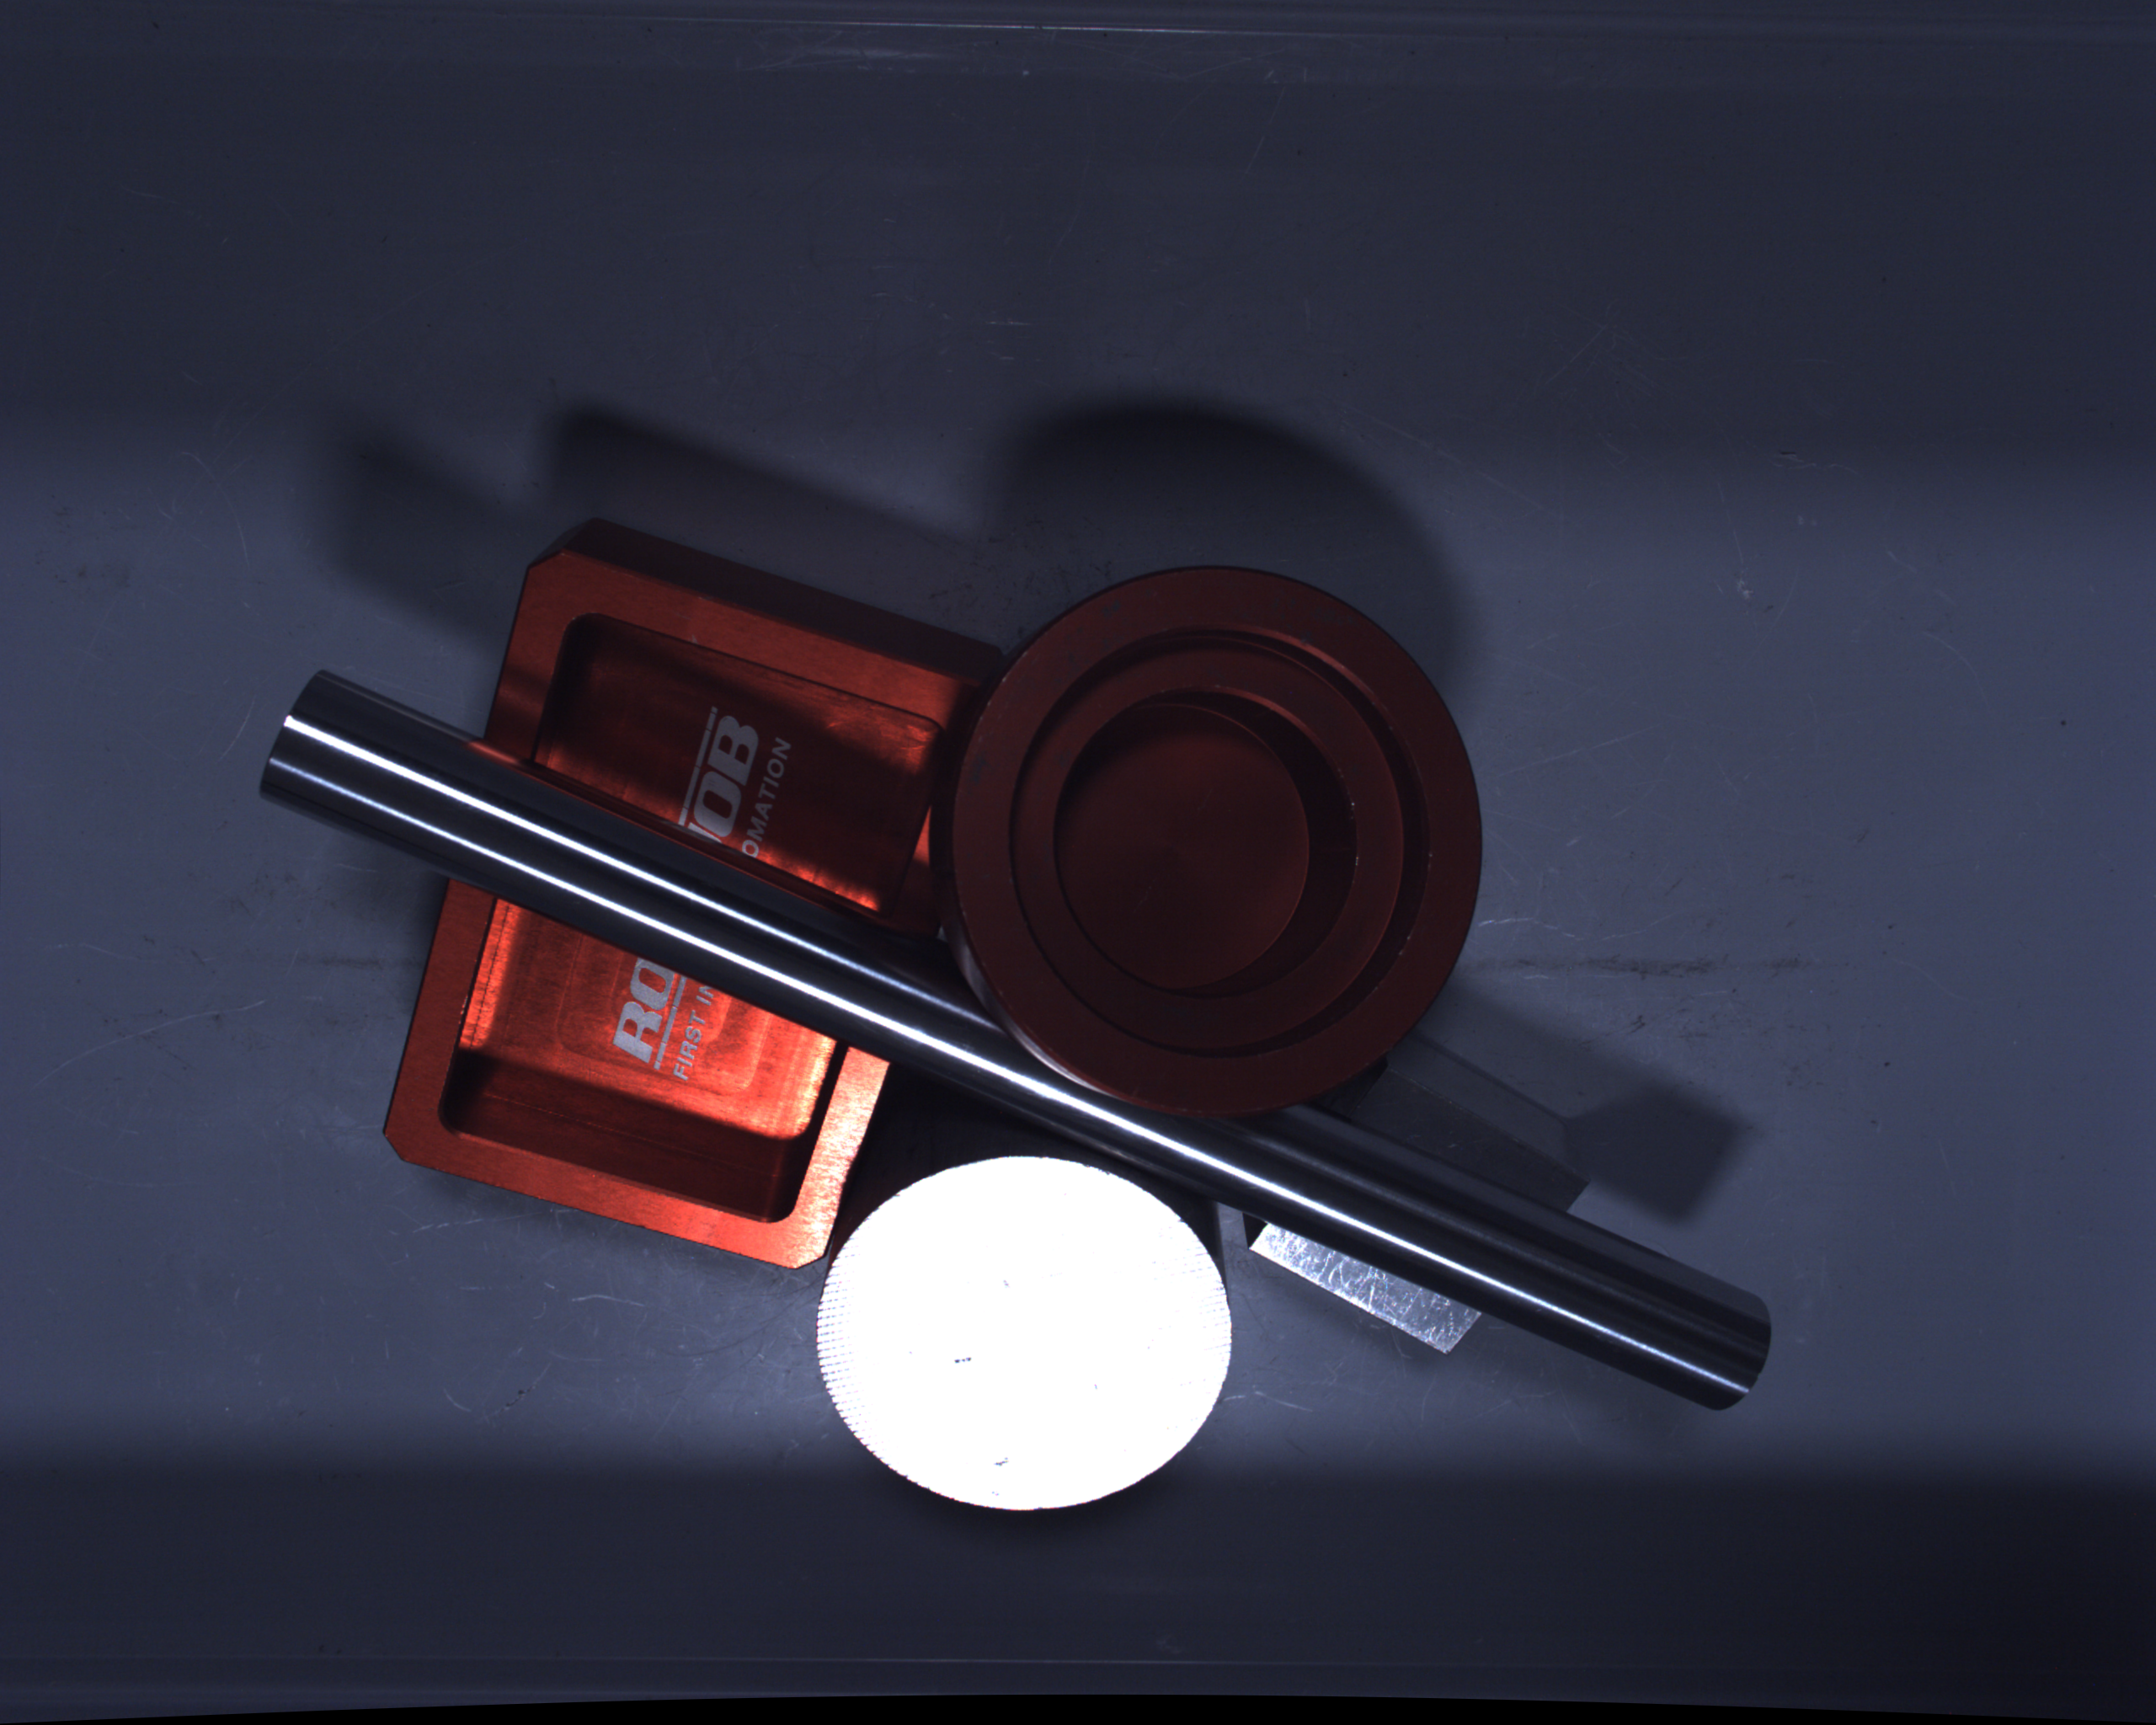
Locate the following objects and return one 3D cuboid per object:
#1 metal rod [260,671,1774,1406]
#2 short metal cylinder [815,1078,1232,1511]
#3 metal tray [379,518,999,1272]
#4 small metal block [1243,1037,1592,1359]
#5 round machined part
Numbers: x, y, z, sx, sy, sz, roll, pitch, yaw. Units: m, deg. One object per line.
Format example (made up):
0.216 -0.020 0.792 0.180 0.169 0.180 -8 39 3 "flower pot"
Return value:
-0.002 0.038 0.393 0.302 0.025 0.025 24 108 -12 "metal rod"
-0.011 0.084 0.426 0.081 0.050 0.079 0 110 -1 "short metal cylinder"
-0.075 0.009 0.408 0.091 0.030 0.129 17 109 -7 "metal tray"
0.069 0.067 0.435 0.050 0.025 0.050 30 107 -11 "small metal block"
0.021 -0.003 0.387 0.099 0.042 0.097 0 88 -14 "round machined part"
